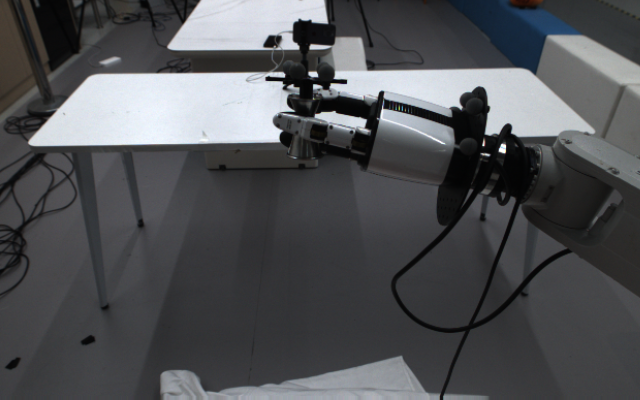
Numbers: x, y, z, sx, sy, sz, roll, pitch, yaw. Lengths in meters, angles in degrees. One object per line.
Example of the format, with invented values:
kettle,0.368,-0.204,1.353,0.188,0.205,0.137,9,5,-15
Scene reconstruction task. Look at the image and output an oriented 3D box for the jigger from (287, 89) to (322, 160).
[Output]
jigger,-0.017,-0.084,0.554,0.043,0.071,0.043,1,20,0
